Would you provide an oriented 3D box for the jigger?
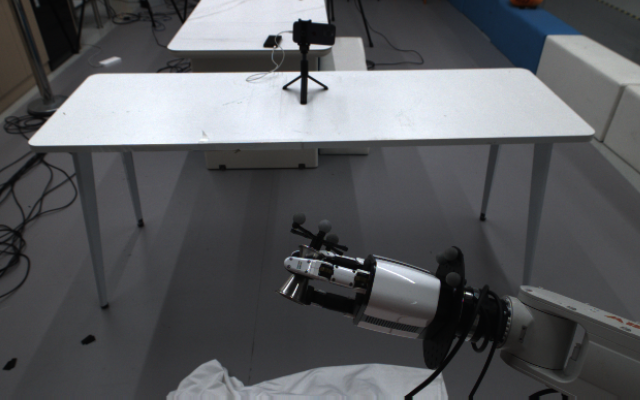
[{"bbox_3d":[-0.024,0.094,0.622,0.043,0.043,0.071,19,72,23],"label":"jigger"}]
